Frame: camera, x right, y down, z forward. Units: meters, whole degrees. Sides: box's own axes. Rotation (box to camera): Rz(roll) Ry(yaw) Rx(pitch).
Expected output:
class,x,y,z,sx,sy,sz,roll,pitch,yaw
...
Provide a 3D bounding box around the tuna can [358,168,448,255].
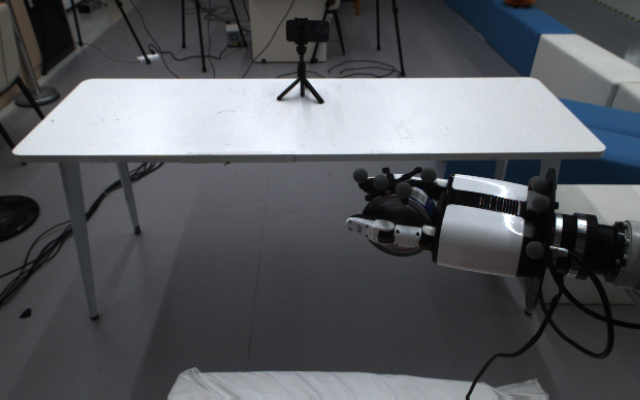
class,x,y,z,sx,sy,sz,roll,pitch,yaw
tuna can,0.098,0.022,0.576,0.085,0.085,0.034,15,34,18
